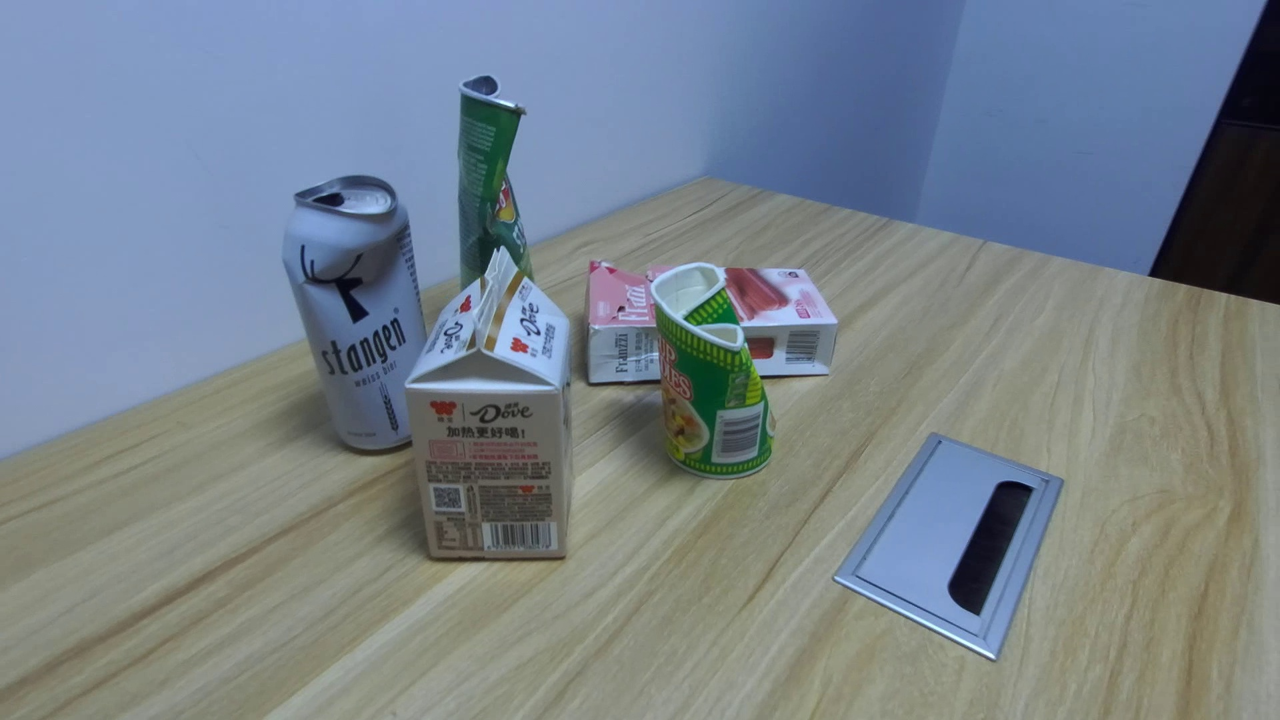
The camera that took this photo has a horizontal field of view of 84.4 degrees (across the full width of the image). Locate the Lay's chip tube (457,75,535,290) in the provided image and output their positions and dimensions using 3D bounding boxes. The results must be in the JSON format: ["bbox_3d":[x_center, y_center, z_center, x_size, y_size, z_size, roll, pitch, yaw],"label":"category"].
[{"bbox_3d":[-0.105,-0.093,0.507,0.077,0.201,0.069,27,40,31],"label":"Lay's chip tube"}]

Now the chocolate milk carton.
[{"bbox_3d":[-0.073,0.023,0.365,0.074,0.148,0.075,1,30,-2],"label":"chocolate milk carton"}]

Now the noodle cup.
[{"bbox_3d":[0.049,0.008,0.429,0.075,0.122,0.083,11,42,30],"label":"noodle cup"}]

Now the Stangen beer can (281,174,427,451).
[{"bbox_3d":[-0.166,-0.025,0.430,0.066,0.162,0.077,-9,34,-16],"label":"Stangen beer can"}]

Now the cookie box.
[{"bbox_3d":[0.052,-0.029,0.552,0.186,0.059,0.105,1,33,-6],"label":"cookie box"}]
